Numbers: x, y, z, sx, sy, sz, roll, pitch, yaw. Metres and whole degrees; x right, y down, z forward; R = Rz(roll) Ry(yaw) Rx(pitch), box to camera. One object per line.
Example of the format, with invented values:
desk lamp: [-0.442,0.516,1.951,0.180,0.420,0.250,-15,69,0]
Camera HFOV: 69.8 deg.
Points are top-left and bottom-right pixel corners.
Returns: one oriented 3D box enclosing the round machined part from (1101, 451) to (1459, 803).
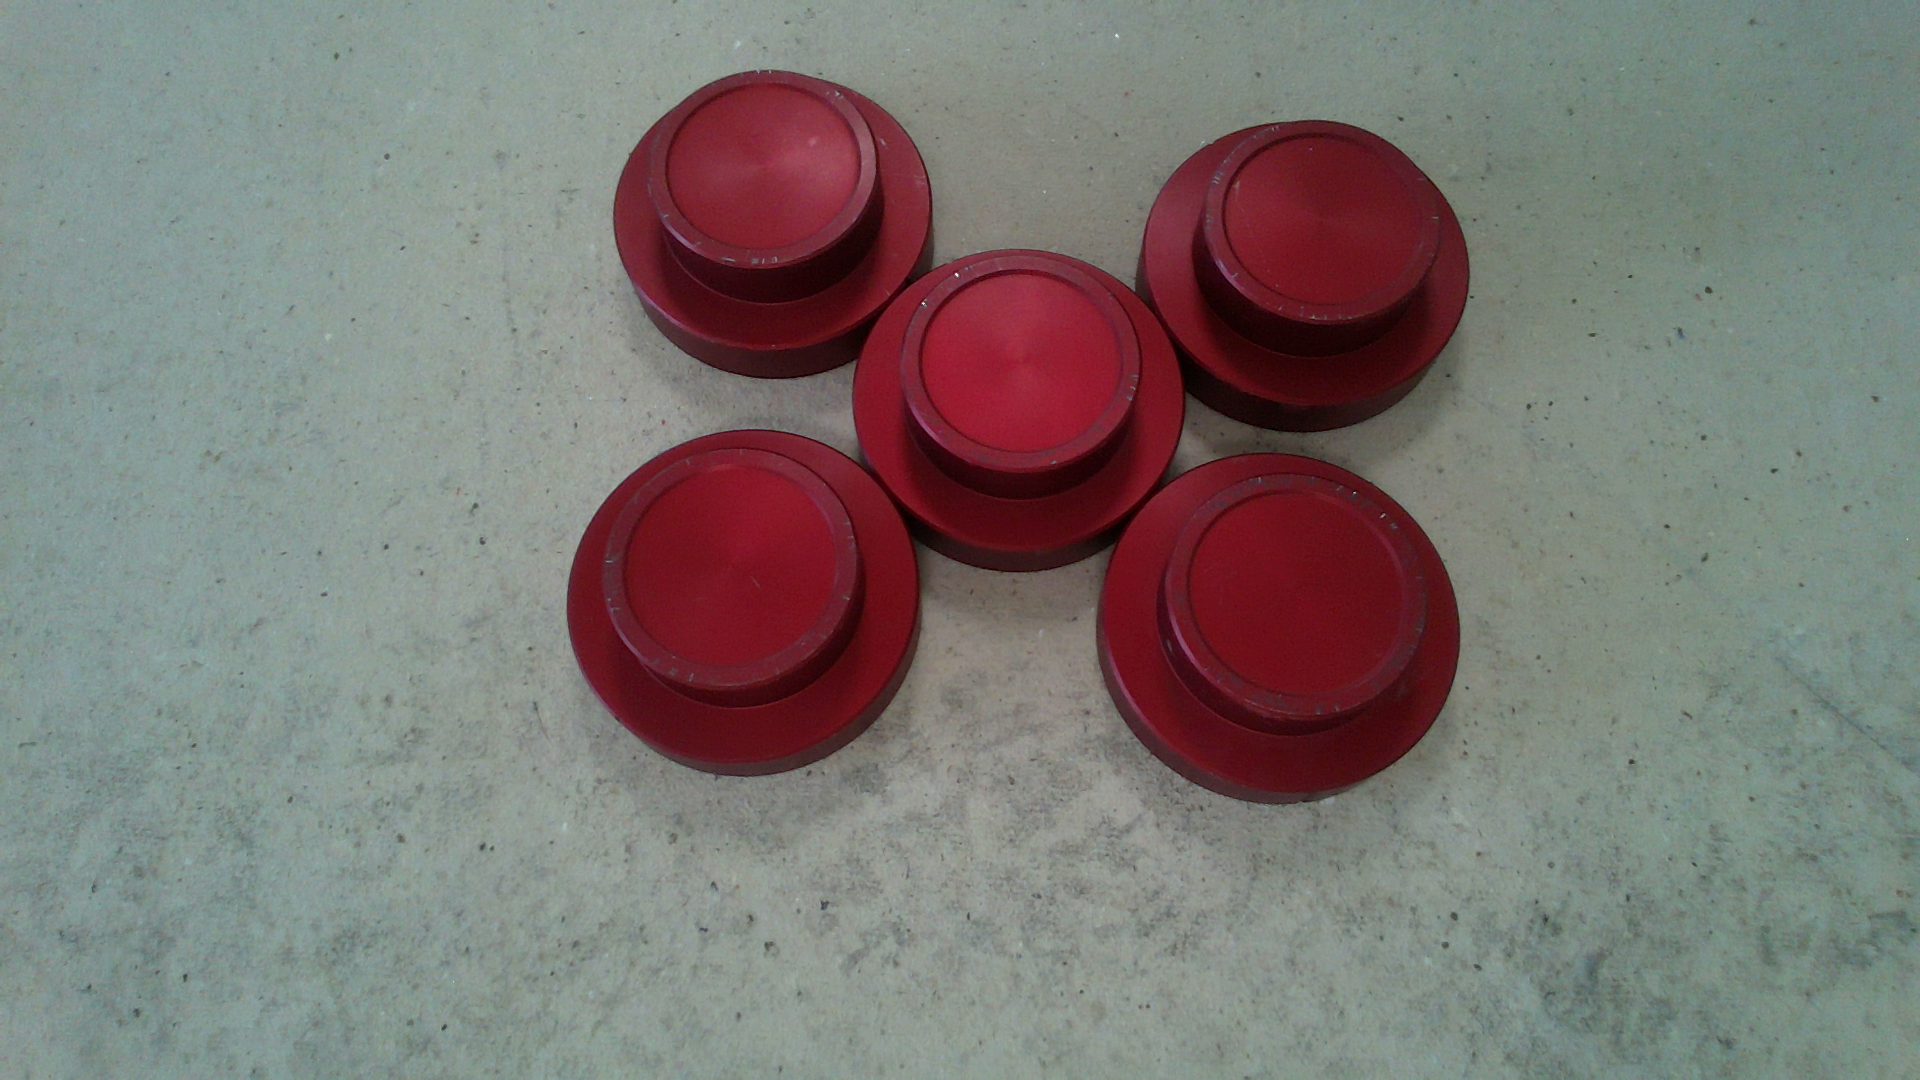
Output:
round machined part: [0.088,0.021,0.378,0.098,0.042,0.098,0,71,1]

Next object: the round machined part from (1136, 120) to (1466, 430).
round machined part: [0.104,-0.086,0.417,0.098,0.042,0.098,0,71,1]

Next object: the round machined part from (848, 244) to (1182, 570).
round machined part: [0.016,-0.044,0.402,0.098,0.042,0.098,0,71,1]

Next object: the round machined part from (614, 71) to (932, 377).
round machined part: [-0.057,-0.103,0.423,0.098,0.042,0.098,0,70,0]

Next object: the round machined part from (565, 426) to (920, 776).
round machined part: [-0.060,0.013,0.380,0.098,0.042,0.098,0,71,0]
